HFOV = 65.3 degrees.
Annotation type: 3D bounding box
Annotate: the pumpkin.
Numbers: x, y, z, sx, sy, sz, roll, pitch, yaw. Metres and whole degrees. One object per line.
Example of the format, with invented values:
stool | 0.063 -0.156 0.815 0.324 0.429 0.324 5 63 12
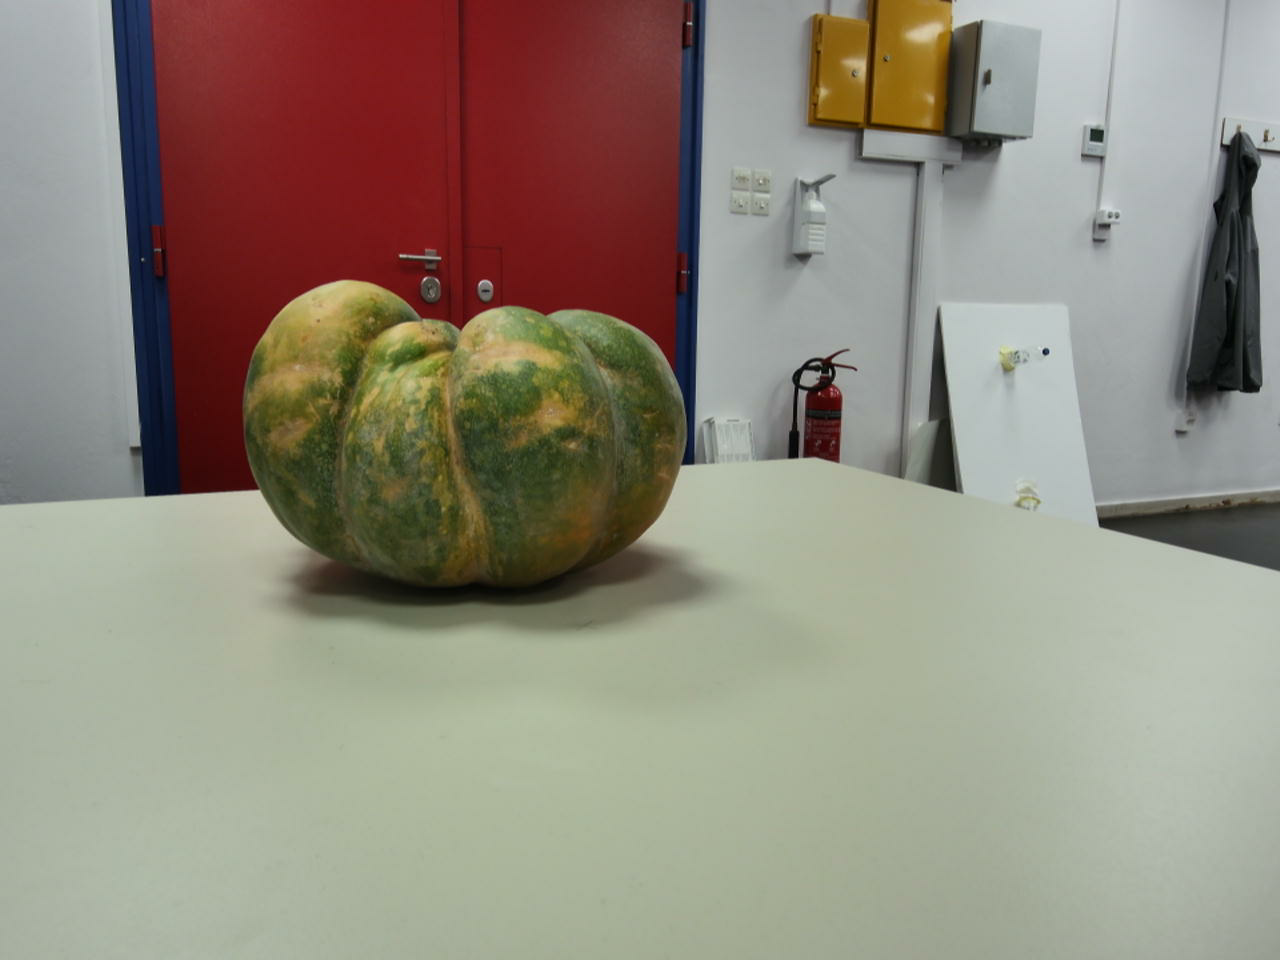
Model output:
pumpkin | -0.105 -0.028 0.603 0.270 0.173 0.237 2 8 13
